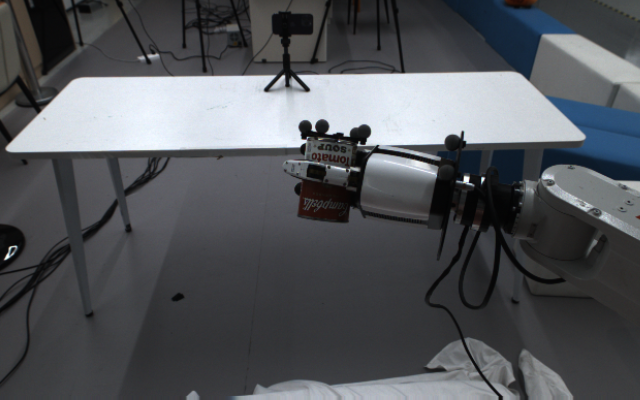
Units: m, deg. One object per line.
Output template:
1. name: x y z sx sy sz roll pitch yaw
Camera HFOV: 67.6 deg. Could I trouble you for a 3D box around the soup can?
1. soup can: 0.011 -0.025 0.620 0.067 0.101 0.067 7 3 0
